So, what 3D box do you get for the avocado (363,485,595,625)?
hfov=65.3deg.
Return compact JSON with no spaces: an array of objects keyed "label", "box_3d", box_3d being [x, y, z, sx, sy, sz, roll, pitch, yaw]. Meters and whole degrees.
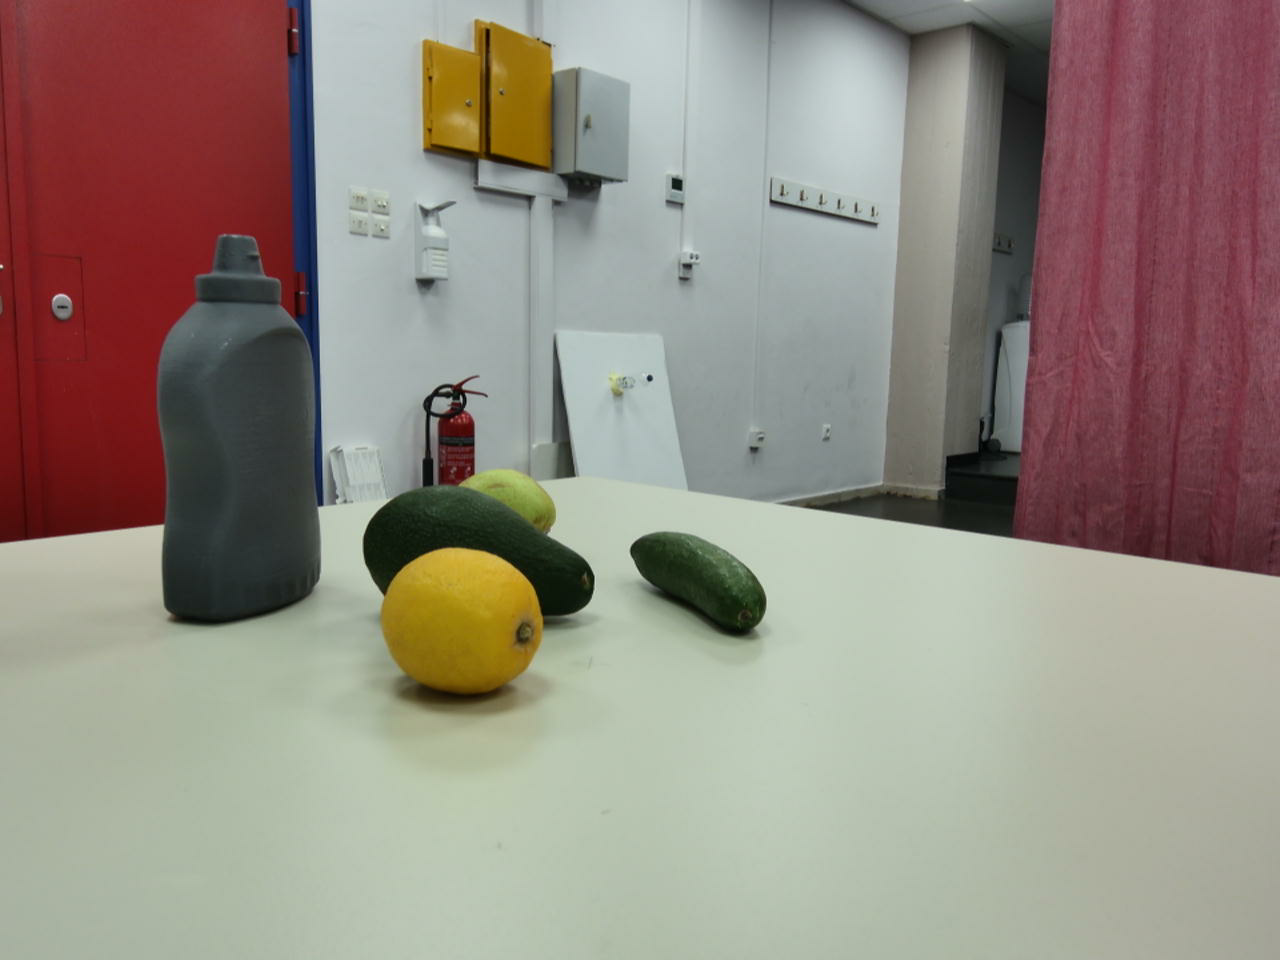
[{"label":"avocado","box_3d":[-0.083,0.038,0.509,0.110,0.071,0.072,2,6,18]}]
